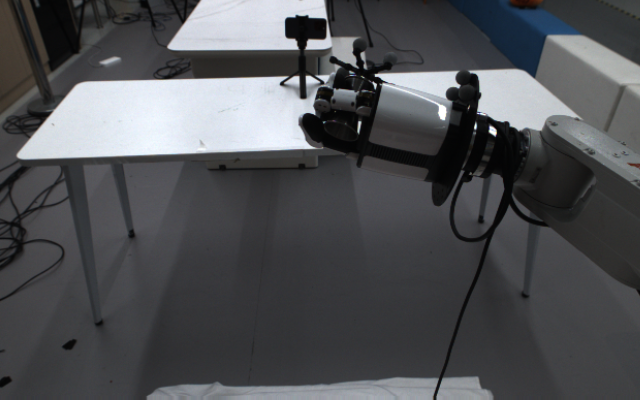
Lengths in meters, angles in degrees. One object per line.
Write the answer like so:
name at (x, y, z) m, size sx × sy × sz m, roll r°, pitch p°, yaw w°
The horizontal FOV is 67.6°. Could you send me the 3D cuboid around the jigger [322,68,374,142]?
jigger at (0.037, -0.113, 0.581) m, size 0.043 × 0.043 × 0.071 m, roll 15°, pitch 70°, yaw 18°
